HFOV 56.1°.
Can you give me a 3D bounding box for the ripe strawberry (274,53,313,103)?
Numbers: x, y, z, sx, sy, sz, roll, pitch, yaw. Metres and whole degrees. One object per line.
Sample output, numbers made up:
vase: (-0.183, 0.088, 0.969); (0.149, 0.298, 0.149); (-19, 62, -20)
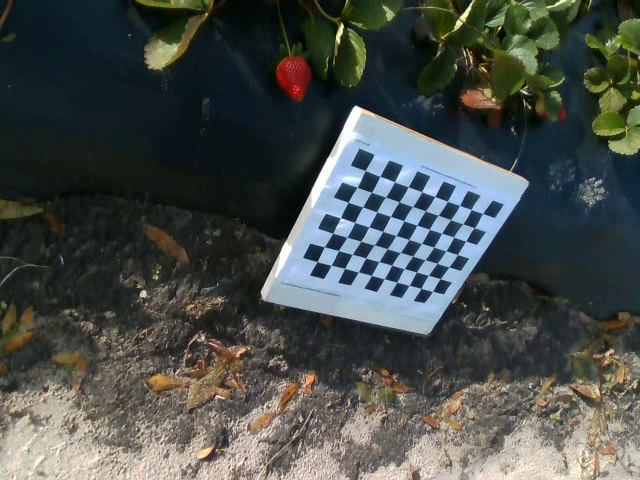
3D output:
ripe strawberry: (-0.022, -0.142, 0.537); (0.041, 0.047, 0.041); (-7, -23, -6)
